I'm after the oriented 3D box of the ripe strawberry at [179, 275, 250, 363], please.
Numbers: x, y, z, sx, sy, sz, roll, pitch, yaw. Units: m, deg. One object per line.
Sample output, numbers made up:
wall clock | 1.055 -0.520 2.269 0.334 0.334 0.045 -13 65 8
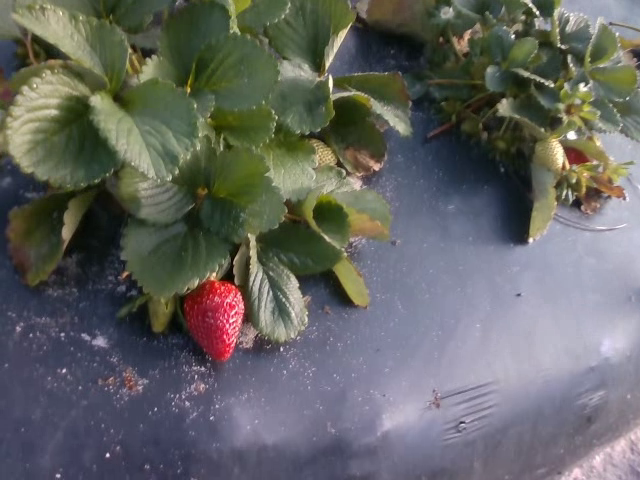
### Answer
ripe strawberry | -0.040 0.033 0.236 0.029 0.036 0.021 -9 -20 -17
